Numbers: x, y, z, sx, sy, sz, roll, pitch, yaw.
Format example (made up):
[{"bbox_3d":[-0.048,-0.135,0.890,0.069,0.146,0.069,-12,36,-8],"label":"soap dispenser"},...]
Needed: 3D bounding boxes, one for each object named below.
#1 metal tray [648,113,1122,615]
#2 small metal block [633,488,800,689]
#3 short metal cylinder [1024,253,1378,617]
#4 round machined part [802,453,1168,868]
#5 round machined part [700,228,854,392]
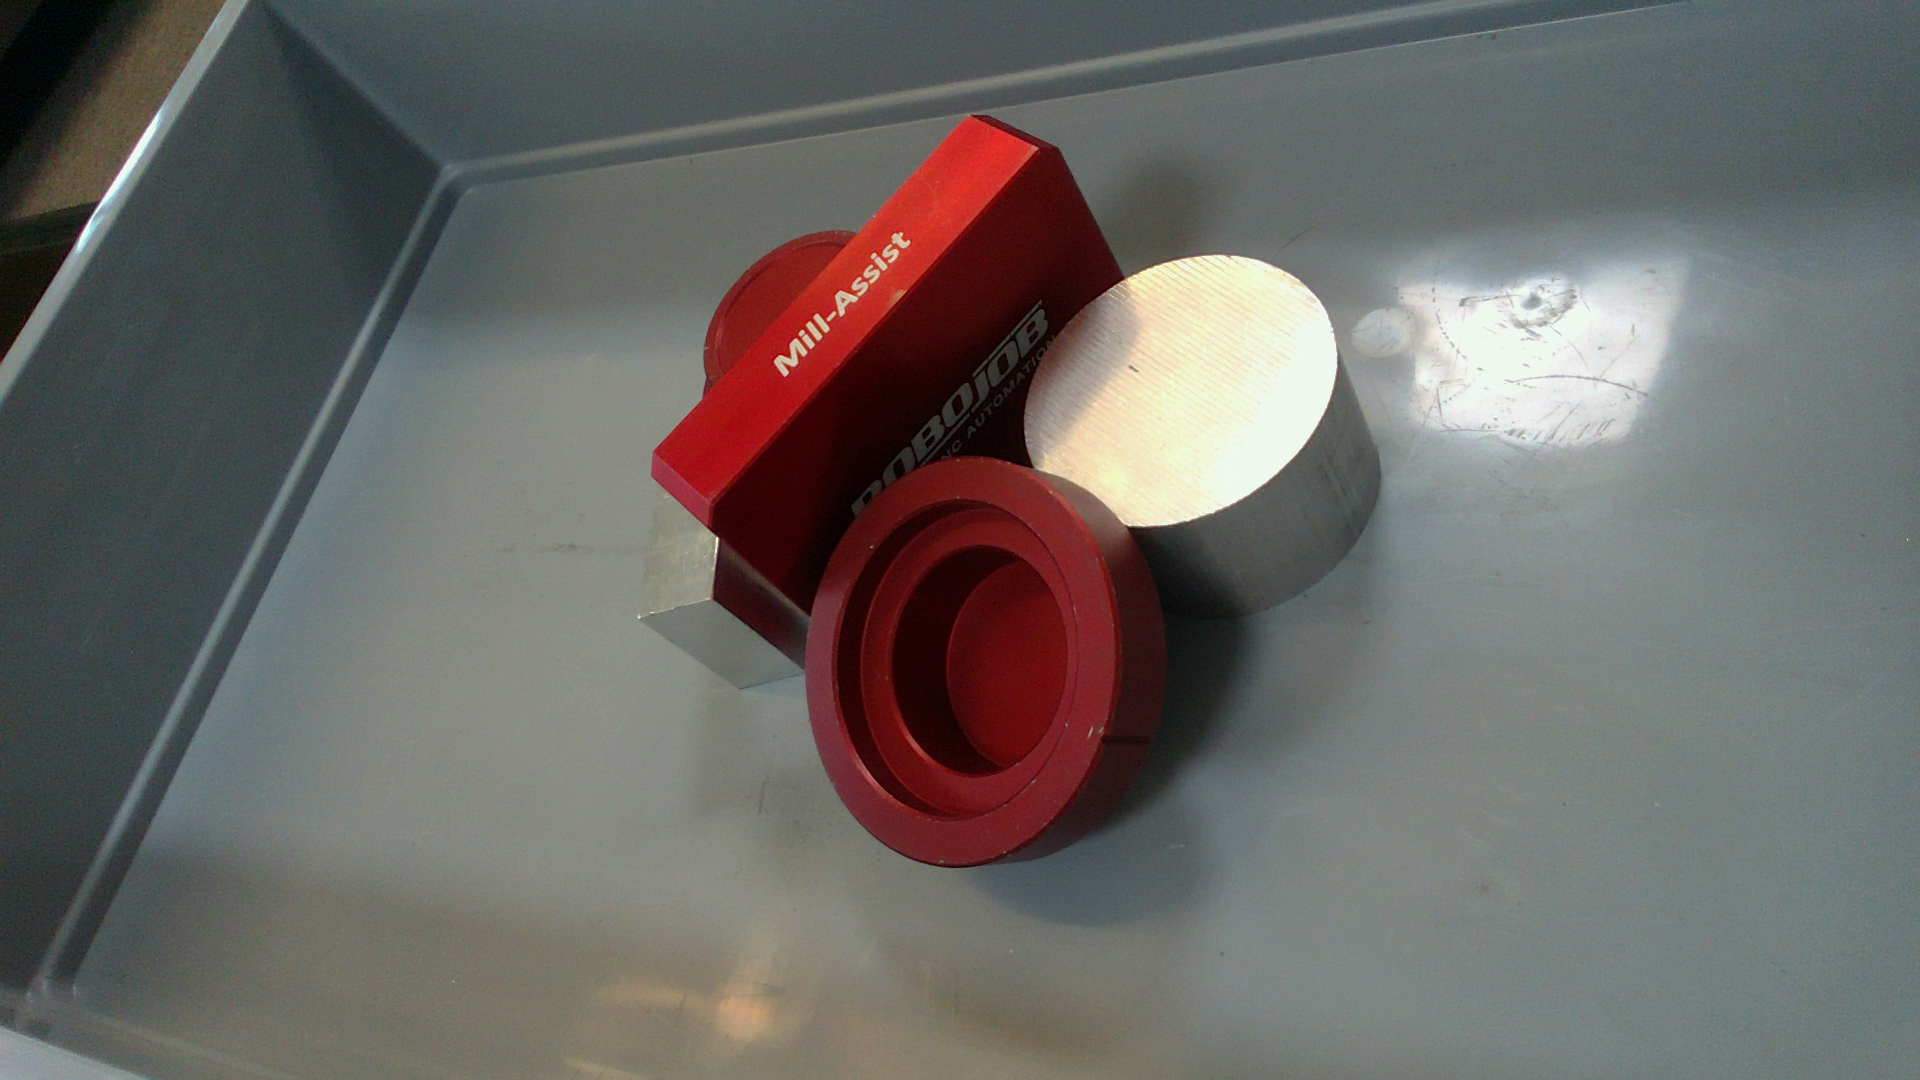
[{"bbox_3d":[-0.011,-0.039,0.380,0.130,0.090,0.030,-48,51,-6],"label":"metal tray"},{"bbox_3d":[-0.068,0.009,0.407,0.025,0.050,0.050,-14,56,21],"label":"small metal block"},{"bbox_3d":[0.063,-0.027,0.358,0.080,0.050,0.080,-13,56,21],"label":"short metal cylinder"},{"bbox_3d":[0.010,0.030,0.342,0.098,0.042,0.098,-7,78,38],"label":"round machined part"},{"bbox_3d":[-0.043,-0.060,0.440,0.098,0.042,0.098,-13,56,21],"label":"round machined part"}]
